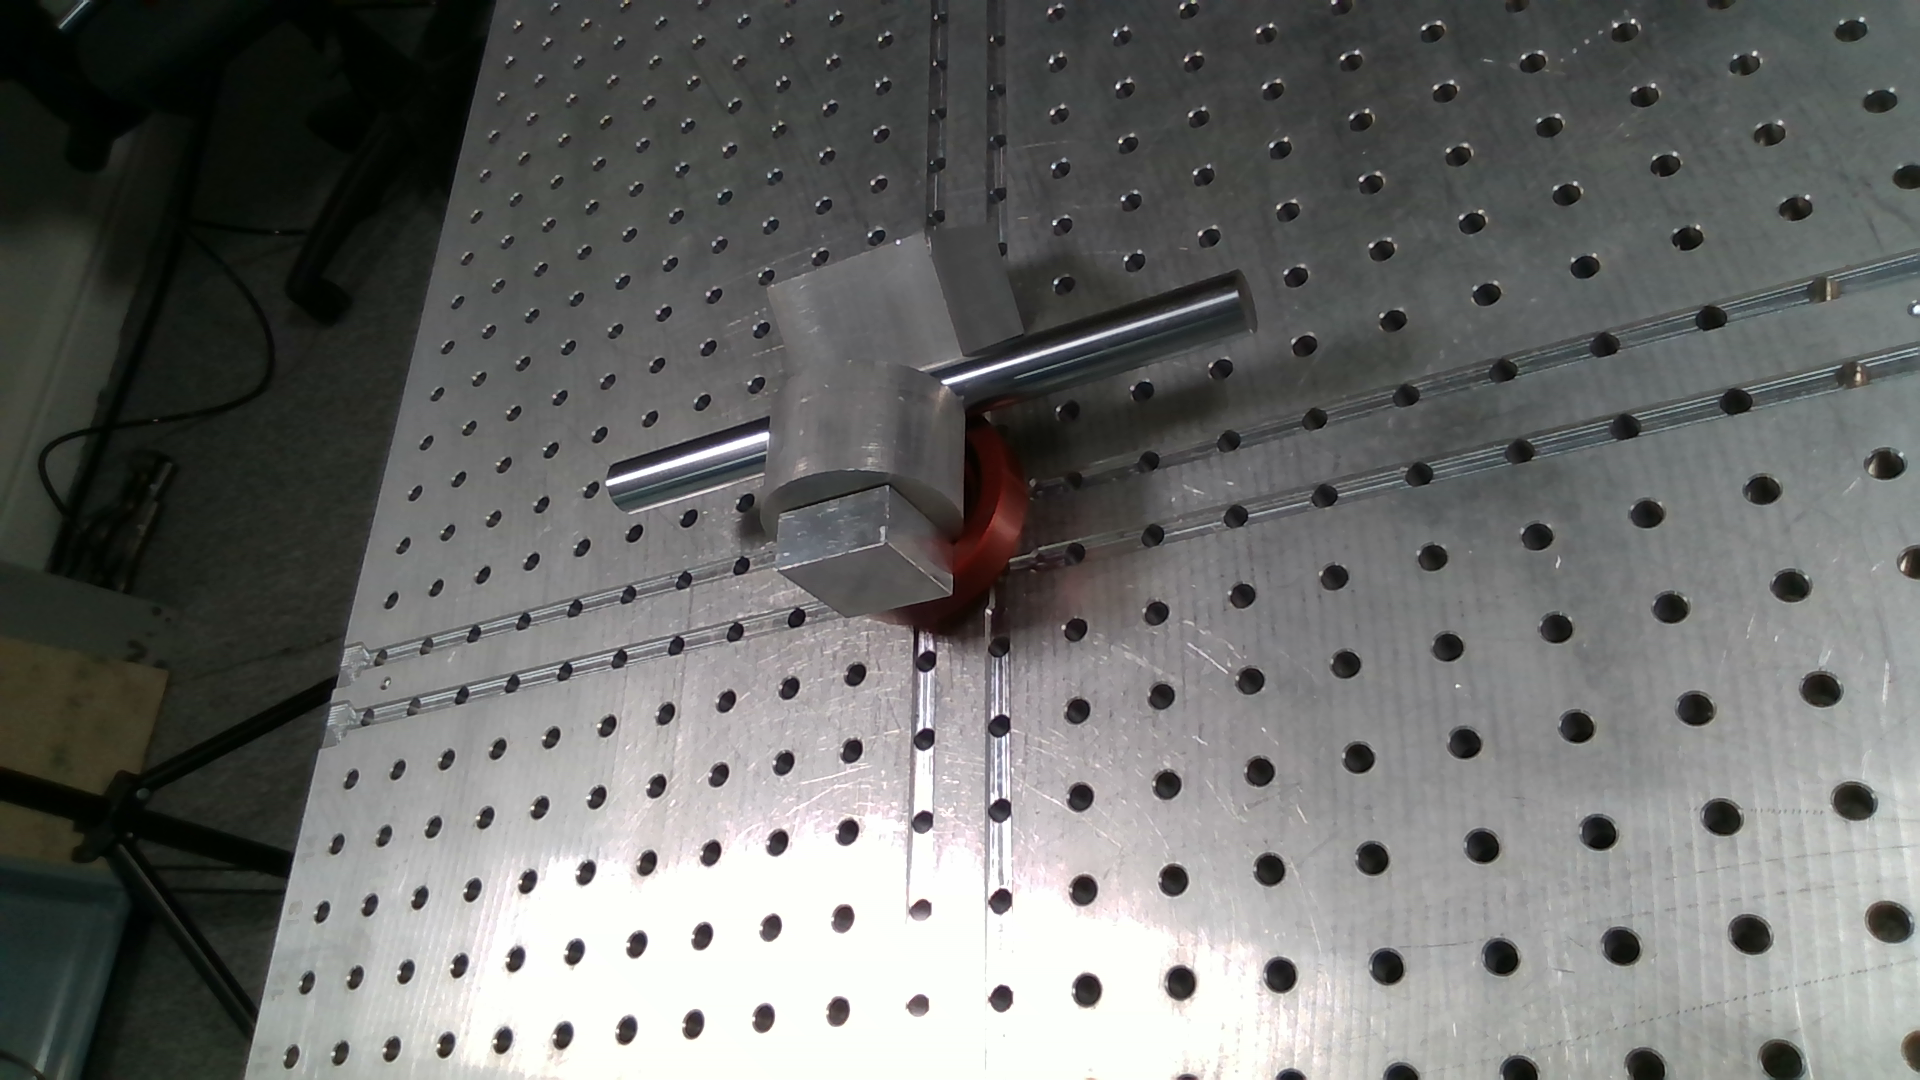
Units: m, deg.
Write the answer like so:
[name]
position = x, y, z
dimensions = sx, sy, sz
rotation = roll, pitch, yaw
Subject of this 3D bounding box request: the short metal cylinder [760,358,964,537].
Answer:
[short metal cylinder]
position = -0.038, -0.029, 0.553
dimensions = 0.080, 0.080, 0.050
rotation = -14, 59, 25

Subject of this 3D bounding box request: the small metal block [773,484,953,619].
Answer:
[small metal block]
position = -0.037, 0.006, 0.538
dimensions = 0.050, 0.050, 0.025
rotation = -13, 59, 26

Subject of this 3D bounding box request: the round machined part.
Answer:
[round machined part]
position = -0.016, -0.009, 0.590
dimensions = 0.098, 0.042, 0.098
rotation = -14, 59, 25

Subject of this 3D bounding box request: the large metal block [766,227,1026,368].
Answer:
[large metal block]
position = -0.026, -0.101, 0.615
dimensions = 0.080, 0.080, 0.050
rotation = -14, 100, 25

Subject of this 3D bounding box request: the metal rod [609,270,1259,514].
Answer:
[metal rod]
position = -0.024, -0.057, 0.580
dimensions = 0.300, 0.025, 0.025
rotation = -14, 59, 25
